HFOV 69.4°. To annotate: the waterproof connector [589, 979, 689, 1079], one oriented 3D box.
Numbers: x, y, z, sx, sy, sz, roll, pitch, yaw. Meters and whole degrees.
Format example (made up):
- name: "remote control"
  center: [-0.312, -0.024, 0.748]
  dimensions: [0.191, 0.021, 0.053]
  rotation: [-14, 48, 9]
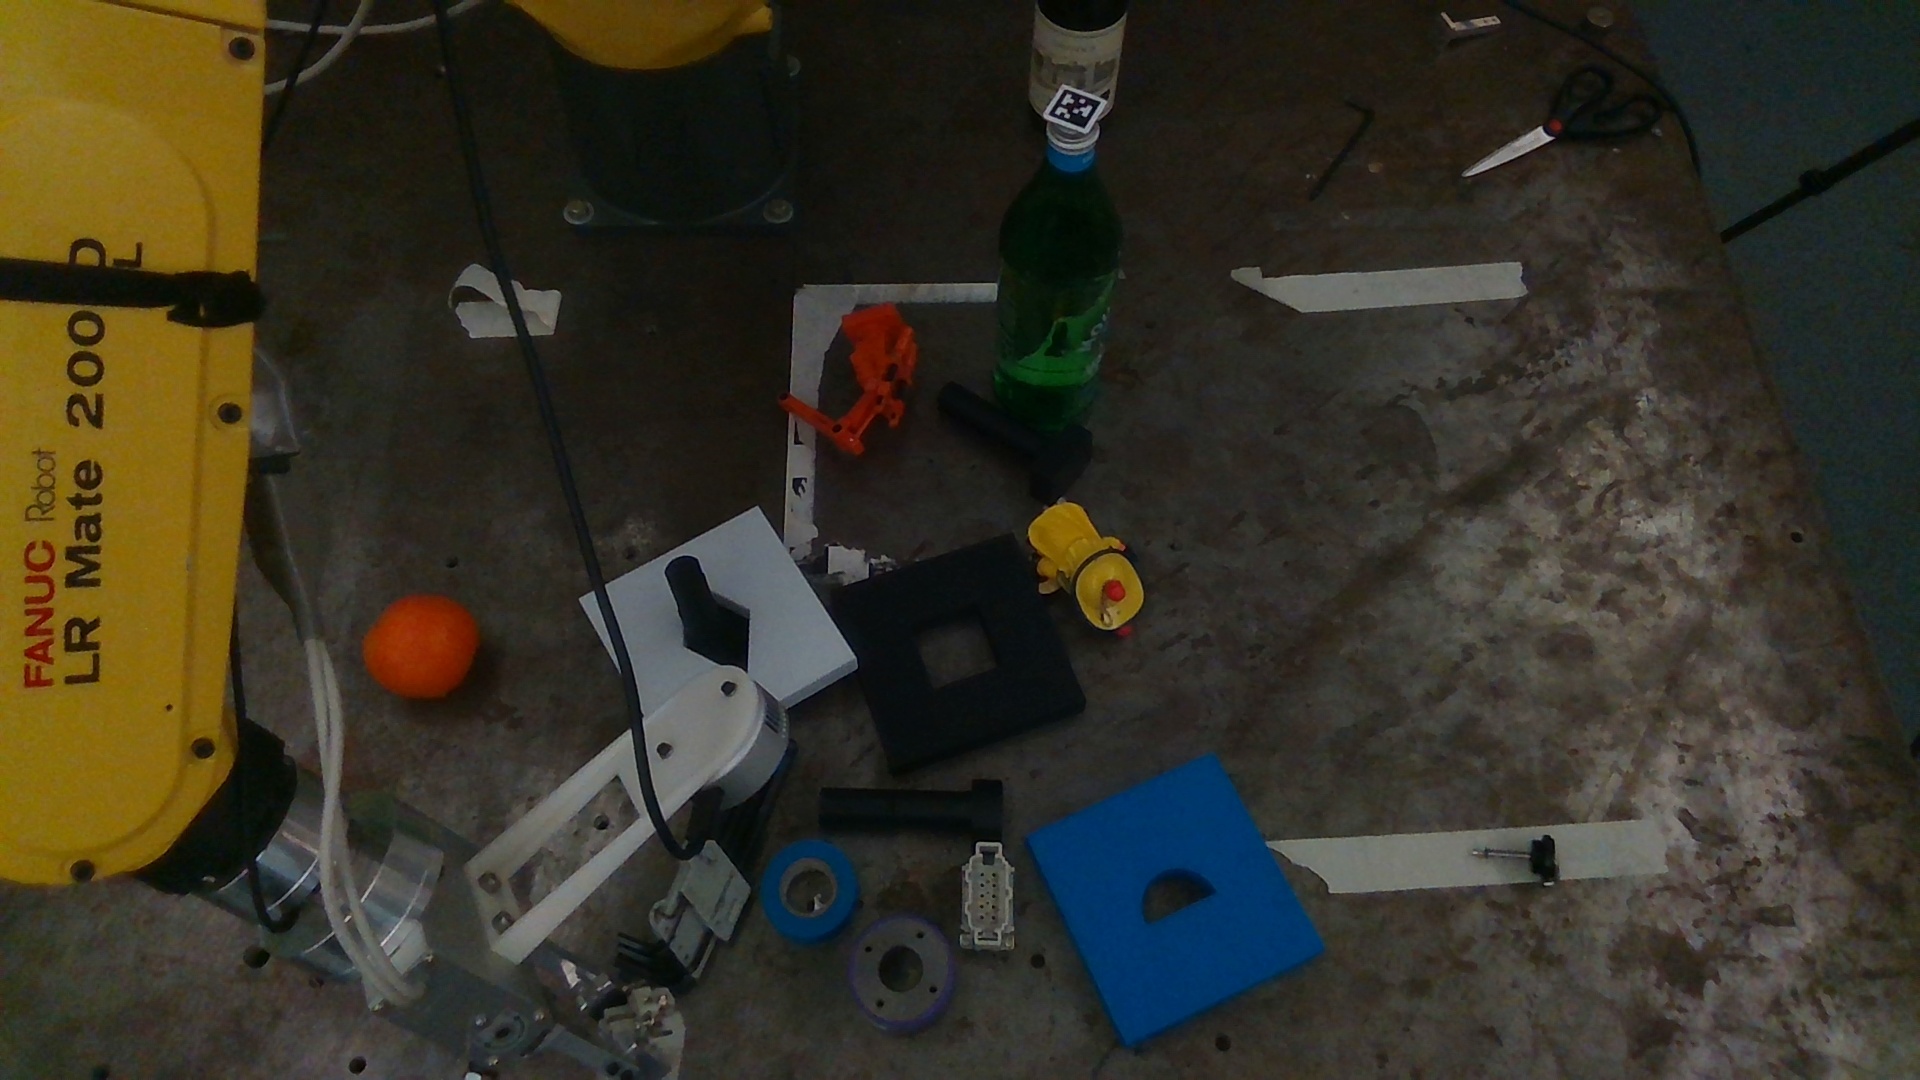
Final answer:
- name: "waterproof connector"
  center: [-0.167, 0.264, 0.716]
  dimensions: [0.038, 0.069, 0.037]
  rotation: [0, 23, -37]
